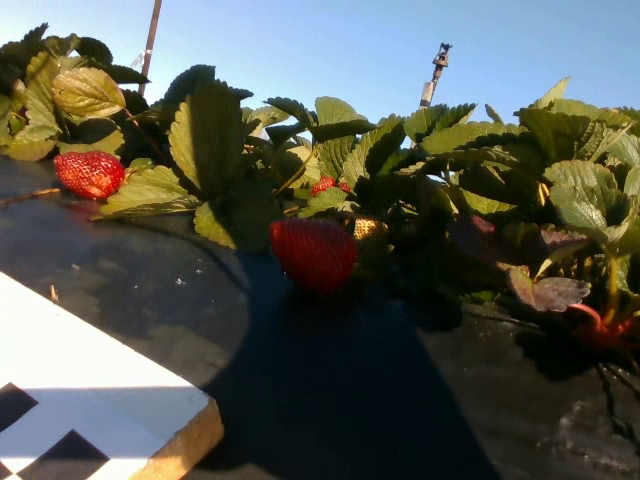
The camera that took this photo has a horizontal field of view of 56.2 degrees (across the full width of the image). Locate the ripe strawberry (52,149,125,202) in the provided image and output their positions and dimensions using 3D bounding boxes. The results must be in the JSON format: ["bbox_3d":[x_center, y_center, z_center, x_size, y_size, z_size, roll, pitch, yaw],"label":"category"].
[{"bbox_3d":[-0.162,-0.046,0.418,0.041,0.043,0.053,31,4,40],"label":"ripe strawberry"}]

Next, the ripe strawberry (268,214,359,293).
[{"bbox_3d":[-0.008,0.004,0.289,0.050,0.043,0.043,32,16,-34],"label":"ripe strawberry"}]
